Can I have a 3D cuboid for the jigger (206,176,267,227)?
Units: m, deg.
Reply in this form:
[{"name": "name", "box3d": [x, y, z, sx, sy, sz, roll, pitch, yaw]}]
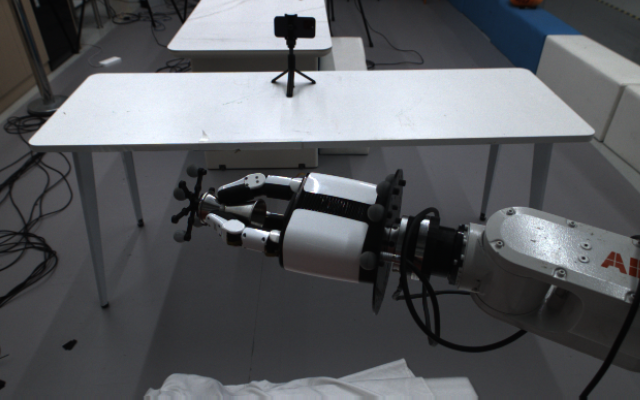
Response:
[{"name": "jigger", "box3d": [-0.099, 0.012, 0.571, 0.071, 0.043, 0.043, 10, 35, 15]}]
